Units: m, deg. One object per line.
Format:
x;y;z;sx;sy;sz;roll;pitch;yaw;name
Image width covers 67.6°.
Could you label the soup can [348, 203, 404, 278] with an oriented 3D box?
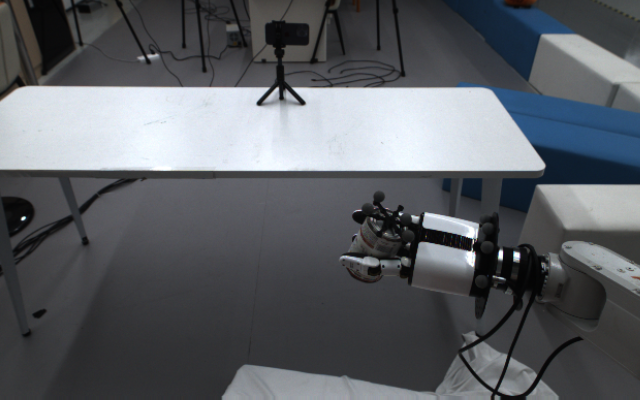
0.086;0.070;0.740;0.067;0.101;0.067;14;39;-12;soup can
